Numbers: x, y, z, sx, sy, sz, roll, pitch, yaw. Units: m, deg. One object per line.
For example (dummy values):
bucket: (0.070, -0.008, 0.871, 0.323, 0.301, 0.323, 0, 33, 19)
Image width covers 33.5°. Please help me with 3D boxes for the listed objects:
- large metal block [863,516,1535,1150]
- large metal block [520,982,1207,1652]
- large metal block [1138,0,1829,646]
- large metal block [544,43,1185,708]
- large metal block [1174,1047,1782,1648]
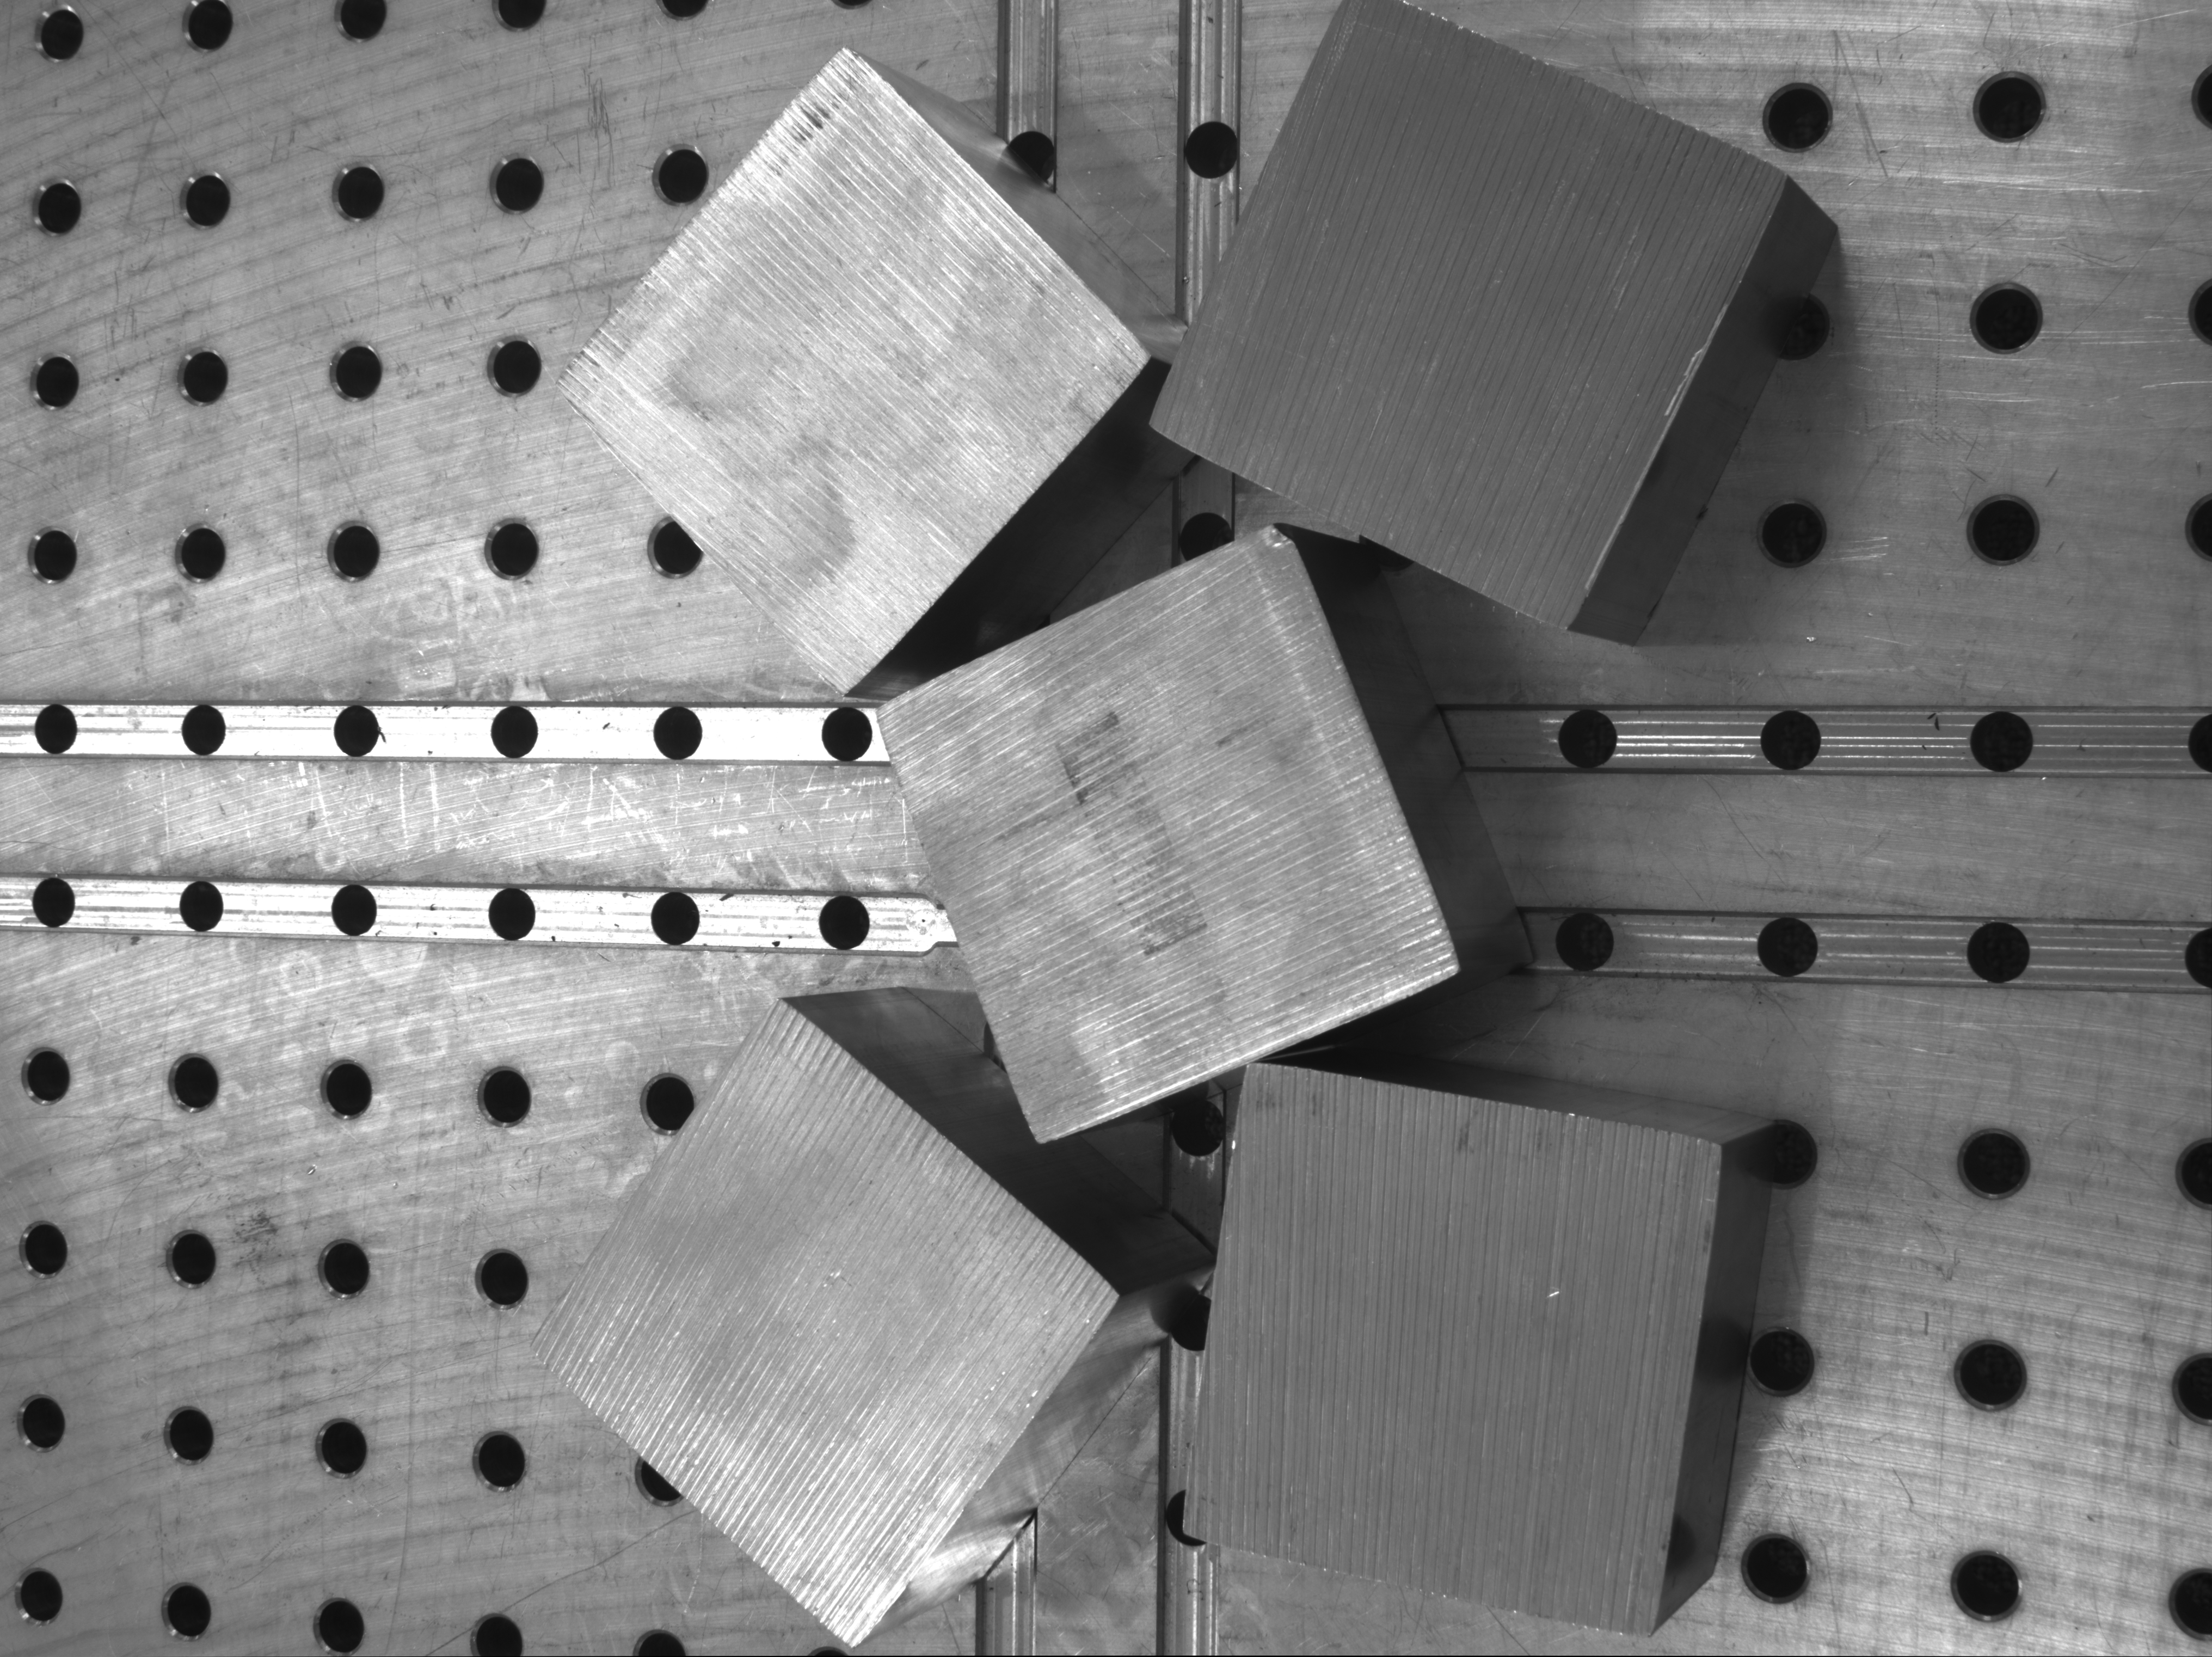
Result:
large metal block: (0.017, 0.001, 0.629, 0.080, 0.050, 0.080, -24, 82, 19)
large metal block: (-0.042, 0.084, 0.650, 0.080, 0.050, 0.080, 39, 102, 16)
large metal block: (0.064, -0.084, 0.612, 0.080, 0.050, 0.080, 27, 99, 15)
large metal block: (-0.037, -0.077, 0.650, 0.080, 0.050, 0.080, -46, 75, 15)
large metal block: (0.063, 0.083, 0.613, 0.080, 0.050, 0.080, 9, 93, 19)
